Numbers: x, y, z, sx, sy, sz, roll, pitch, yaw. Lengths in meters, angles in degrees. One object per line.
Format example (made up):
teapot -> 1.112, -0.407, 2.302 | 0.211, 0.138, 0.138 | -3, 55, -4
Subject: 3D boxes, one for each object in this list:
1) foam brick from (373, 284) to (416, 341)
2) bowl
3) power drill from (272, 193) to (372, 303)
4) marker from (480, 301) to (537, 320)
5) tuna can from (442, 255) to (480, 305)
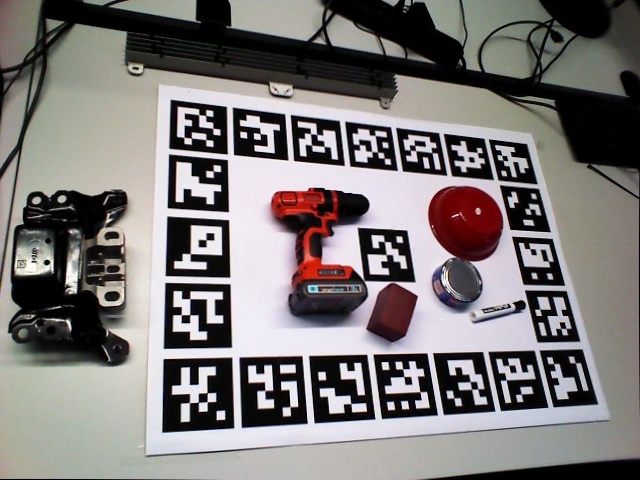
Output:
foam brick -> 0.131, 0.121, 0.860 | 0.051, 0.053, 0.077 | 26, 63, -9
bowl -> 0.300, -0.044, 0.991 | 0.161, 0.055, 0.161 | 7, 60, -13
power drill -> 0.015, 0.010, 0.861 | 0.184, 0.058, 0.186 | 3, 65, -22
marker -> 0.346, 0.128, 0.942 | 0.121, 0.020, 0.019 | -7, 72, -22
tuna can -> 0.263, 0.073, 0.929 | 0.085, 0.034, 0.085 | 8, 66, -19
